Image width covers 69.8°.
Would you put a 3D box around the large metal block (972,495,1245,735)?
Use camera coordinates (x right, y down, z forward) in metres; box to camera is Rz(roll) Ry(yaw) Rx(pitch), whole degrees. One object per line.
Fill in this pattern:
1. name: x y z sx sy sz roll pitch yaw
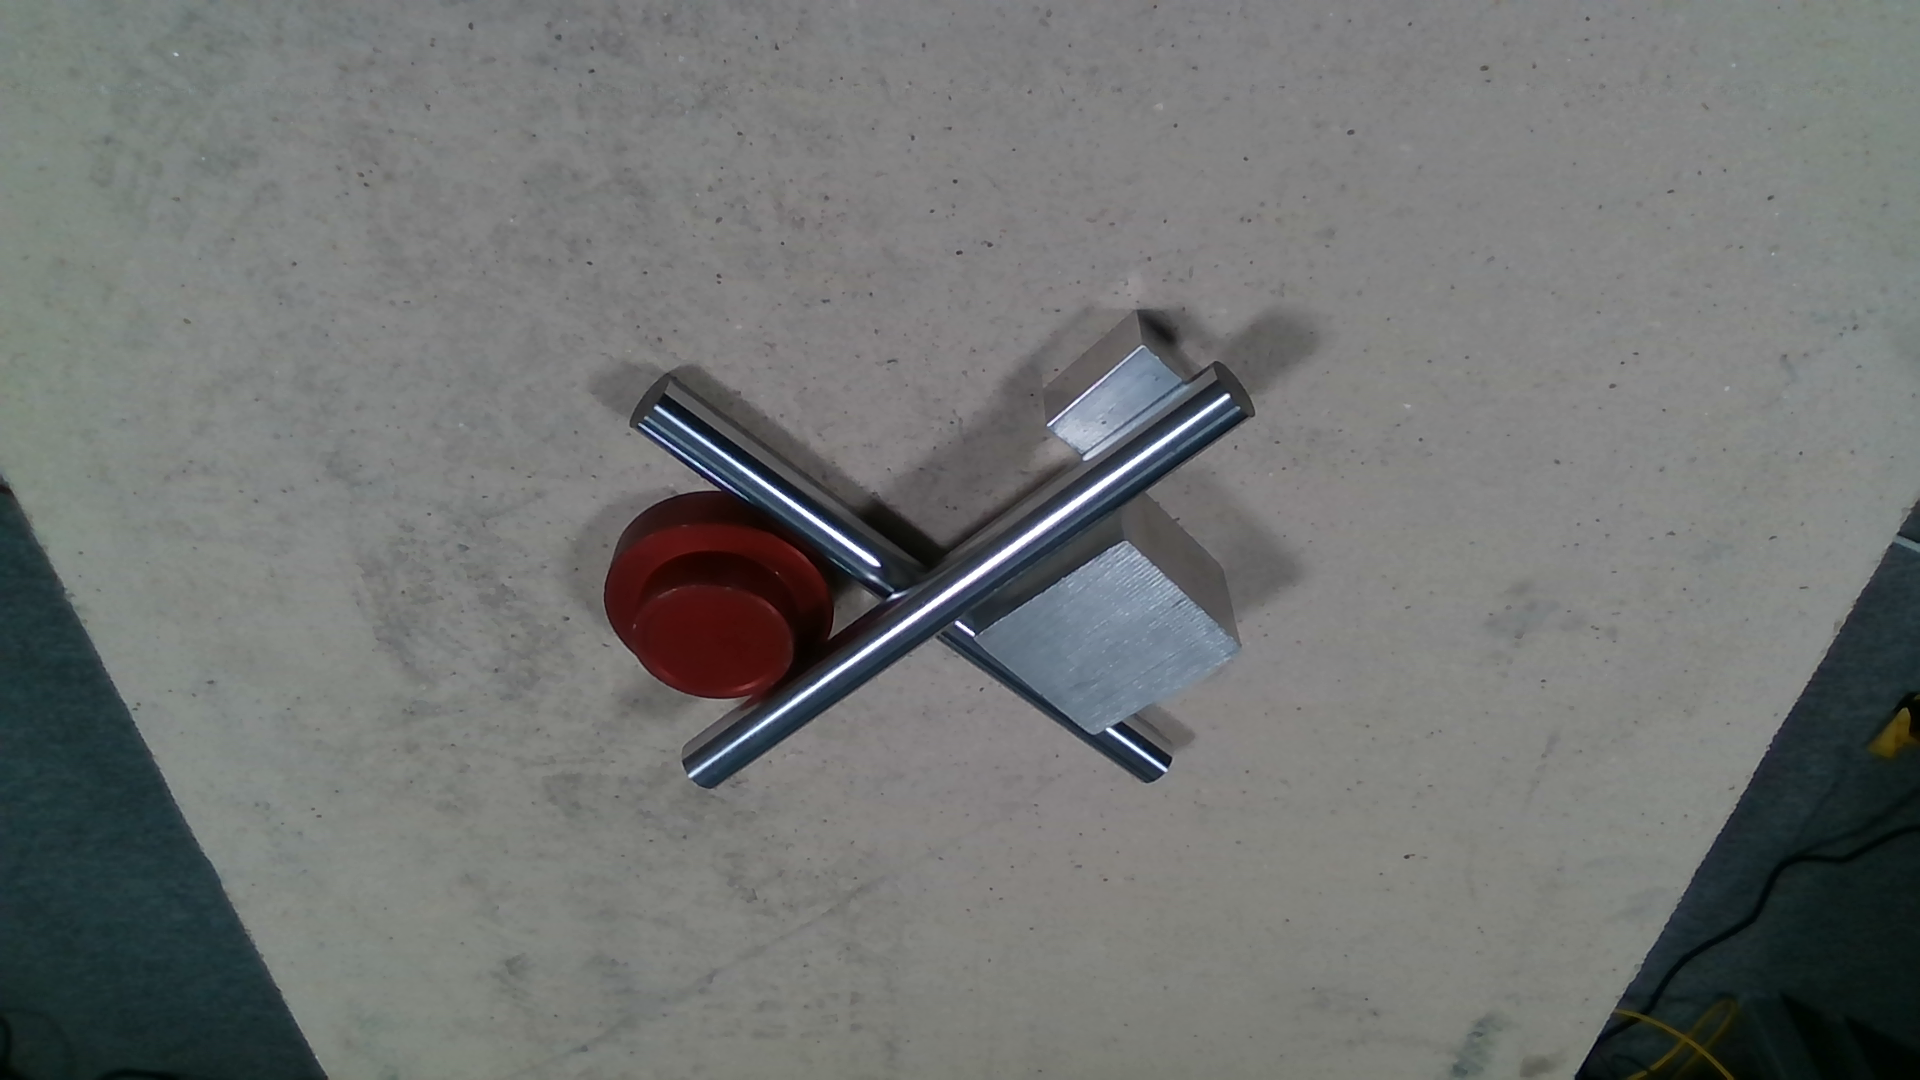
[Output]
1. large metal block: 0.061 0.026 0.587 0.080 0.050 0.080 -34 122 25

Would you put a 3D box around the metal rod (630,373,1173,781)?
1. metal rod: -0.013 0.026 0.603 0.301 0.025 0.025 37 121 -27

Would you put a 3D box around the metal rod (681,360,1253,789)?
1. metal rod: -0.010 0.024 0.566 0.300 0.025 0.025 -36 121 26

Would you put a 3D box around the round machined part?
1. round machined part: -0.104 0.031 0.593 0.098 0.042 0.098 0 130 0

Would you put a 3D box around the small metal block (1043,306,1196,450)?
1. small metal block: 0.068 -0.054 0.536 0.050 0.025 0.050 35 122 -26
